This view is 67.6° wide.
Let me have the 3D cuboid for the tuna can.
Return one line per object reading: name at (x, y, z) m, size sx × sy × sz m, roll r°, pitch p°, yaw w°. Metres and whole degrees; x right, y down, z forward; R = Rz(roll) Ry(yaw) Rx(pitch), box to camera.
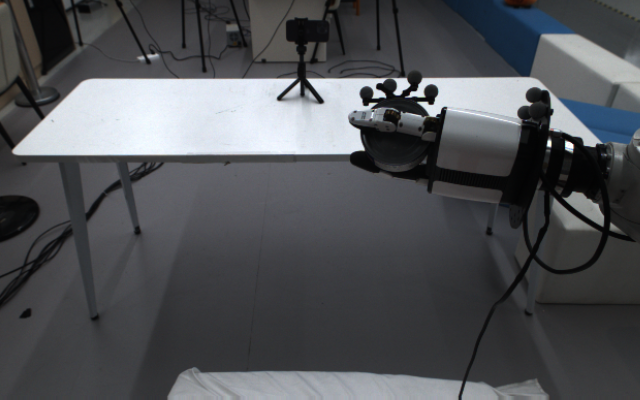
tuna can at (0.094, -0.079, 0.592) m, size 0.085 × 0.034 × 0.085 m, roll -3°, pitch 73°, yaw 11°
